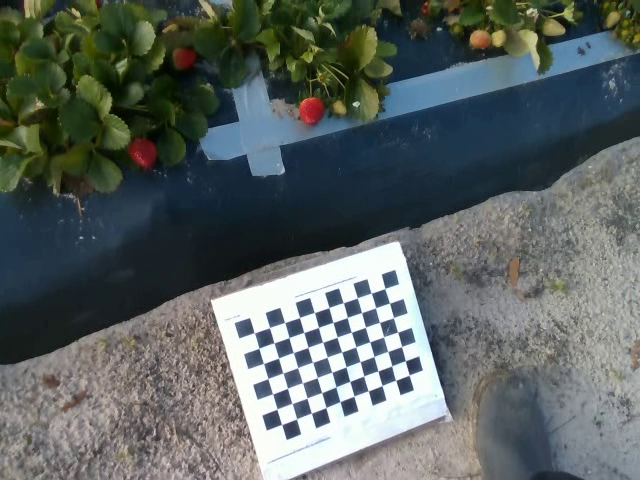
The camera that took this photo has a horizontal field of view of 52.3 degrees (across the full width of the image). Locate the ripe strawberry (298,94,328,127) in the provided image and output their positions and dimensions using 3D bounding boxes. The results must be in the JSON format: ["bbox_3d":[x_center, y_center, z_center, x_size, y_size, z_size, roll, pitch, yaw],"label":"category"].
[{"bbox_3d":[-0.005,-0.089,0.451,0.023,0.026,0.021,-9,-41,9],"label":"ripe strawberry"}]

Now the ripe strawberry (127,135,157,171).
[{"bbox_3d":[-0.114,-0.055,0.415,0.018,0.023,0.021,-26,-26,2],"label":"ripe strawberry"}]
